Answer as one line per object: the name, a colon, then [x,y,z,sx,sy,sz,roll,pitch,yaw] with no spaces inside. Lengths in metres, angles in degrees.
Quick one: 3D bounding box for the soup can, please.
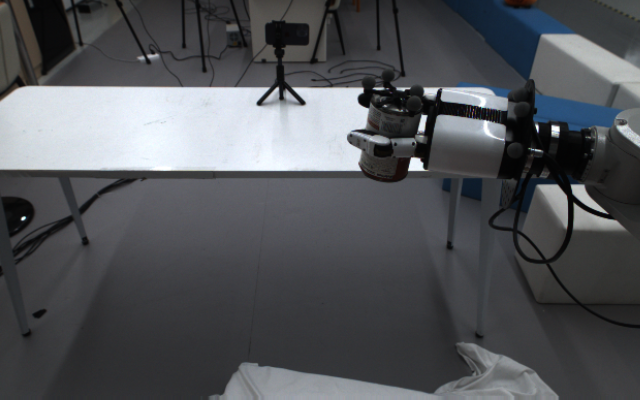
soup can: [0.092,-0.083,0.631,0.067,0.101,0.067,5,37,-3]
